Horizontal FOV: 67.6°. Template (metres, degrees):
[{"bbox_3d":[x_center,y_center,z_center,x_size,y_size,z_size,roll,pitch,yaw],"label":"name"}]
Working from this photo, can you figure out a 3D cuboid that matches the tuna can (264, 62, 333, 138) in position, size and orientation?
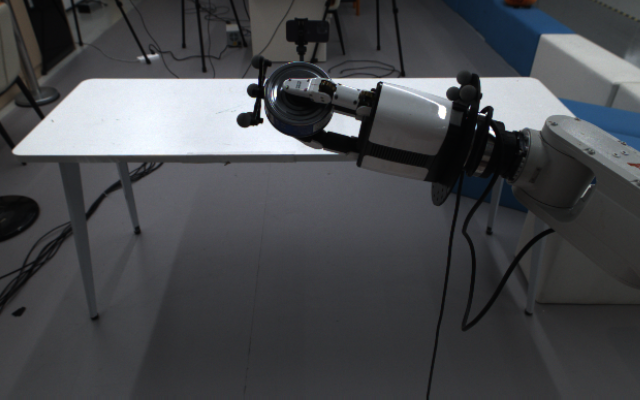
[{"bbox_3d":[-0.023,-0.122,0.582,0.085,0.034,0.085,2,73,-5],"label":"tuna can"}]
